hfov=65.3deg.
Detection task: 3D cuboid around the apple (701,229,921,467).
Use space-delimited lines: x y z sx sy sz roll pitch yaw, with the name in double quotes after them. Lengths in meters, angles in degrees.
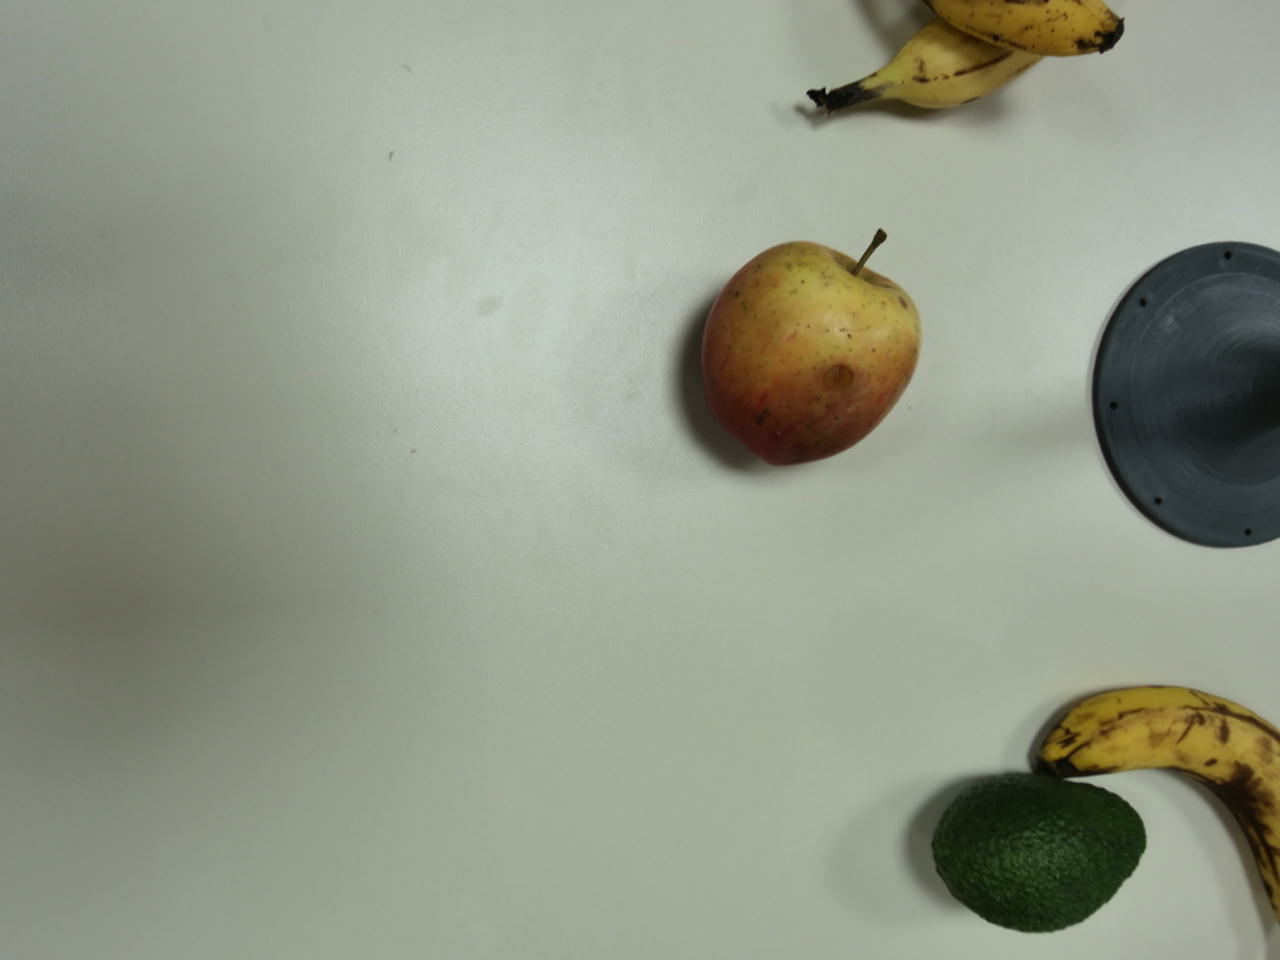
0.070 -0.053 0.408 0.093 0.084 0.086 -37 97 -9 "apple"
